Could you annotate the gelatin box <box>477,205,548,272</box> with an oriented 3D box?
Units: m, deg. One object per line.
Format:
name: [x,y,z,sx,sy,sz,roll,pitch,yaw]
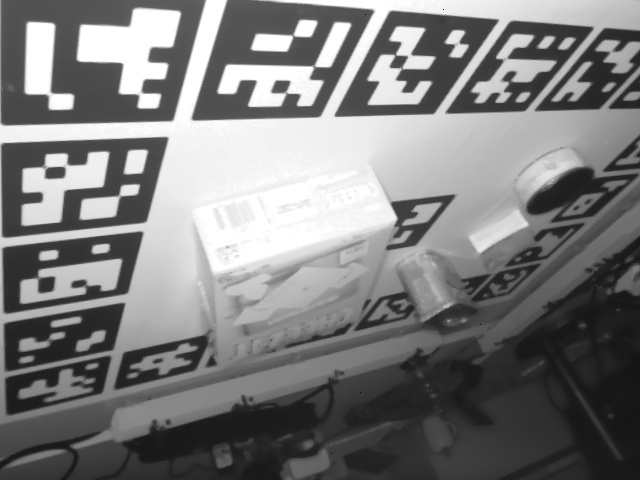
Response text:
gelatin box: [0.248,0.001,0.888,0.073,0.030,0.090,-28,148,13]

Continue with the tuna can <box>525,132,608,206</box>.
tuna can: [0.272,-0.078,0.768,0.086,0.034,0.085,-20,148,-12]

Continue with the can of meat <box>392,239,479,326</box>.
can of meat: [0.140,0.052,0.853,0.057,0.084,0.103,-36,150,22]

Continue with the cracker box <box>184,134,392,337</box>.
cracker box: [-0.034,0.004,0.656,0.166,0.072,0.211,-13,151,-16]
